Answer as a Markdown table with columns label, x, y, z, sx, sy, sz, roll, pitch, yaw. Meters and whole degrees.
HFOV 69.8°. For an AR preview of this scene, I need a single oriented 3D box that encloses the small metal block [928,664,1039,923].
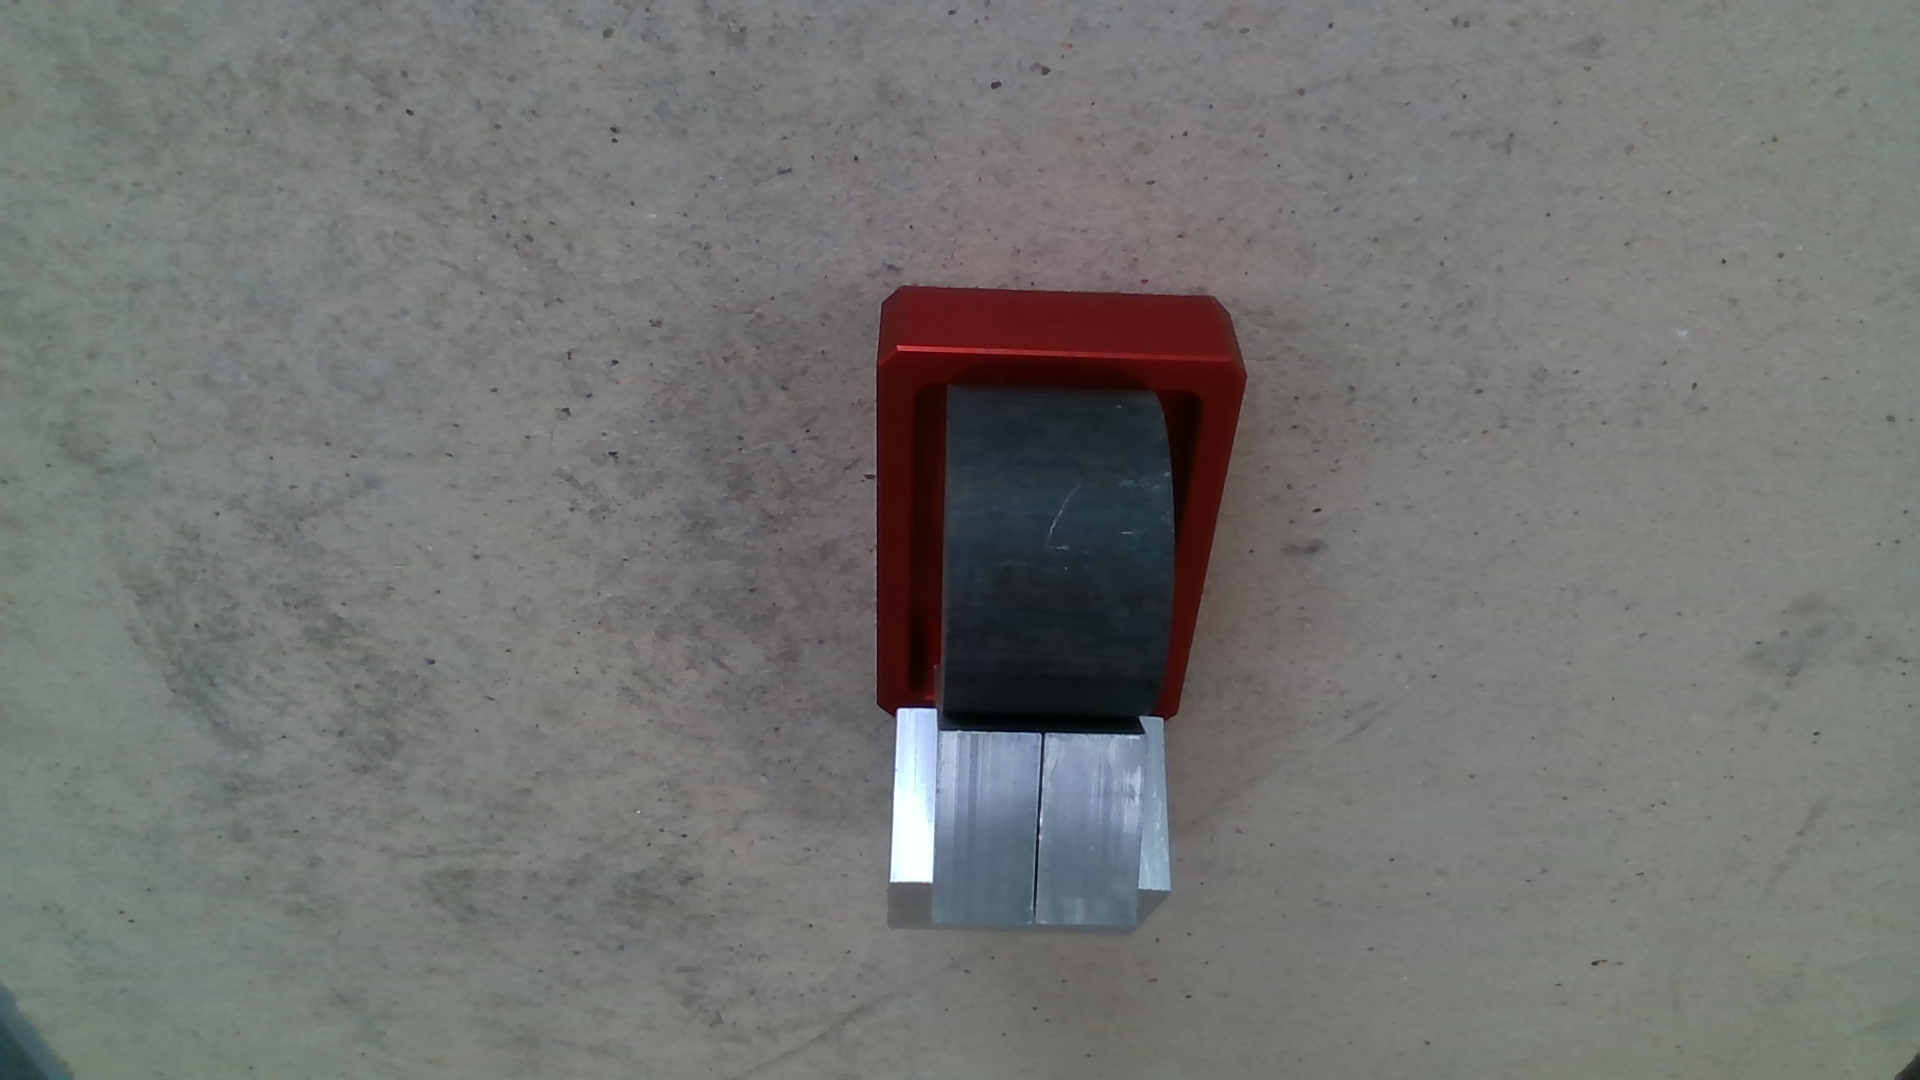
| label | x | y | z | sx | sy | sz | roll | pitch | yaw |
| --- | --- | --- | --- | --- | --- | --- | --- | --- | --- |
| small metal block | 0.005 | 0.064 | 0.358 | 0.025 | 0.050 | 0.050 | 1 | 104 | -3 |

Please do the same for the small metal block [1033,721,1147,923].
| label | x | y | z | sx | sy | sz | roll | pitch | yaw |
| --- | --- | --- | --- | --- | --- | --- | --- | --- | --- |
| small metal block | 0.031 | 0.065 | 0.359 | 0.025 | 0.050 | 0.050 | 1 | 104 | -3 |

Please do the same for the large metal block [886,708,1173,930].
| label | x | y | z | sx | sy | sz | roll | pitch | yaw |
| --- | --- | --- | --- | --- | --- | --- | --- | --- | --- |
| large metal block | 0.018 | 0.090 | 0.430 | 0.080 | 0.050 | 0.080 | 2 | 156 | -2 |

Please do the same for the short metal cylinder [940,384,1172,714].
| label | x | y | z | sx | sy | sz | roll | pitch | yaw |
| --- | --- | --- | --- | --- | --- | --- | --- | --- | --- |
| short metal cylinder | 0.021 | 0.002 | 0.338 | 0.050 | 0.080 | 0.080 | 1 | 130 | -1 |

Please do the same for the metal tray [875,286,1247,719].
| label | x | y | z | sx | sy | sz | roll | pitch | yaw |
| --- | --- | --- | --- | --- | --- | --- | --- | --- | --- |
| metal tray | 0.022 | -0.004 | 0.382 | 0.090 | 0.030 | 0.130 | 2 | 130 | -1 |
